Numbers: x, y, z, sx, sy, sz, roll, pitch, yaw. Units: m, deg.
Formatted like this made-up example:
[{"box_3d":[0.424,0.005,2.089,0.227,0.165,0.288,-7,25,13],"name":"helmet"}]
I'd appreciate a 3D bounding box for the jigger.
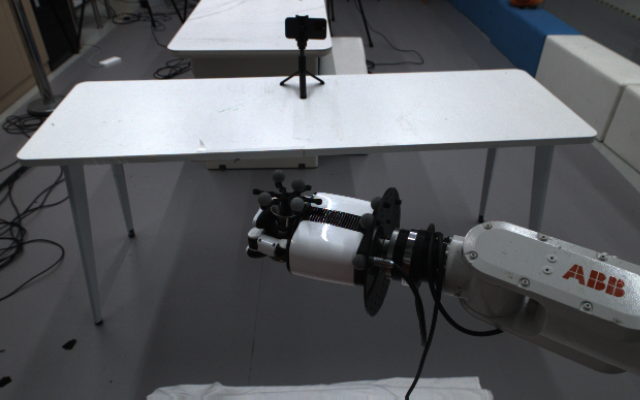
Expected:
[{"box_3d":[-0.044,0.042,0.632,0.043,0.071,0.043,5,26,-3],"name":"jigger"}]
